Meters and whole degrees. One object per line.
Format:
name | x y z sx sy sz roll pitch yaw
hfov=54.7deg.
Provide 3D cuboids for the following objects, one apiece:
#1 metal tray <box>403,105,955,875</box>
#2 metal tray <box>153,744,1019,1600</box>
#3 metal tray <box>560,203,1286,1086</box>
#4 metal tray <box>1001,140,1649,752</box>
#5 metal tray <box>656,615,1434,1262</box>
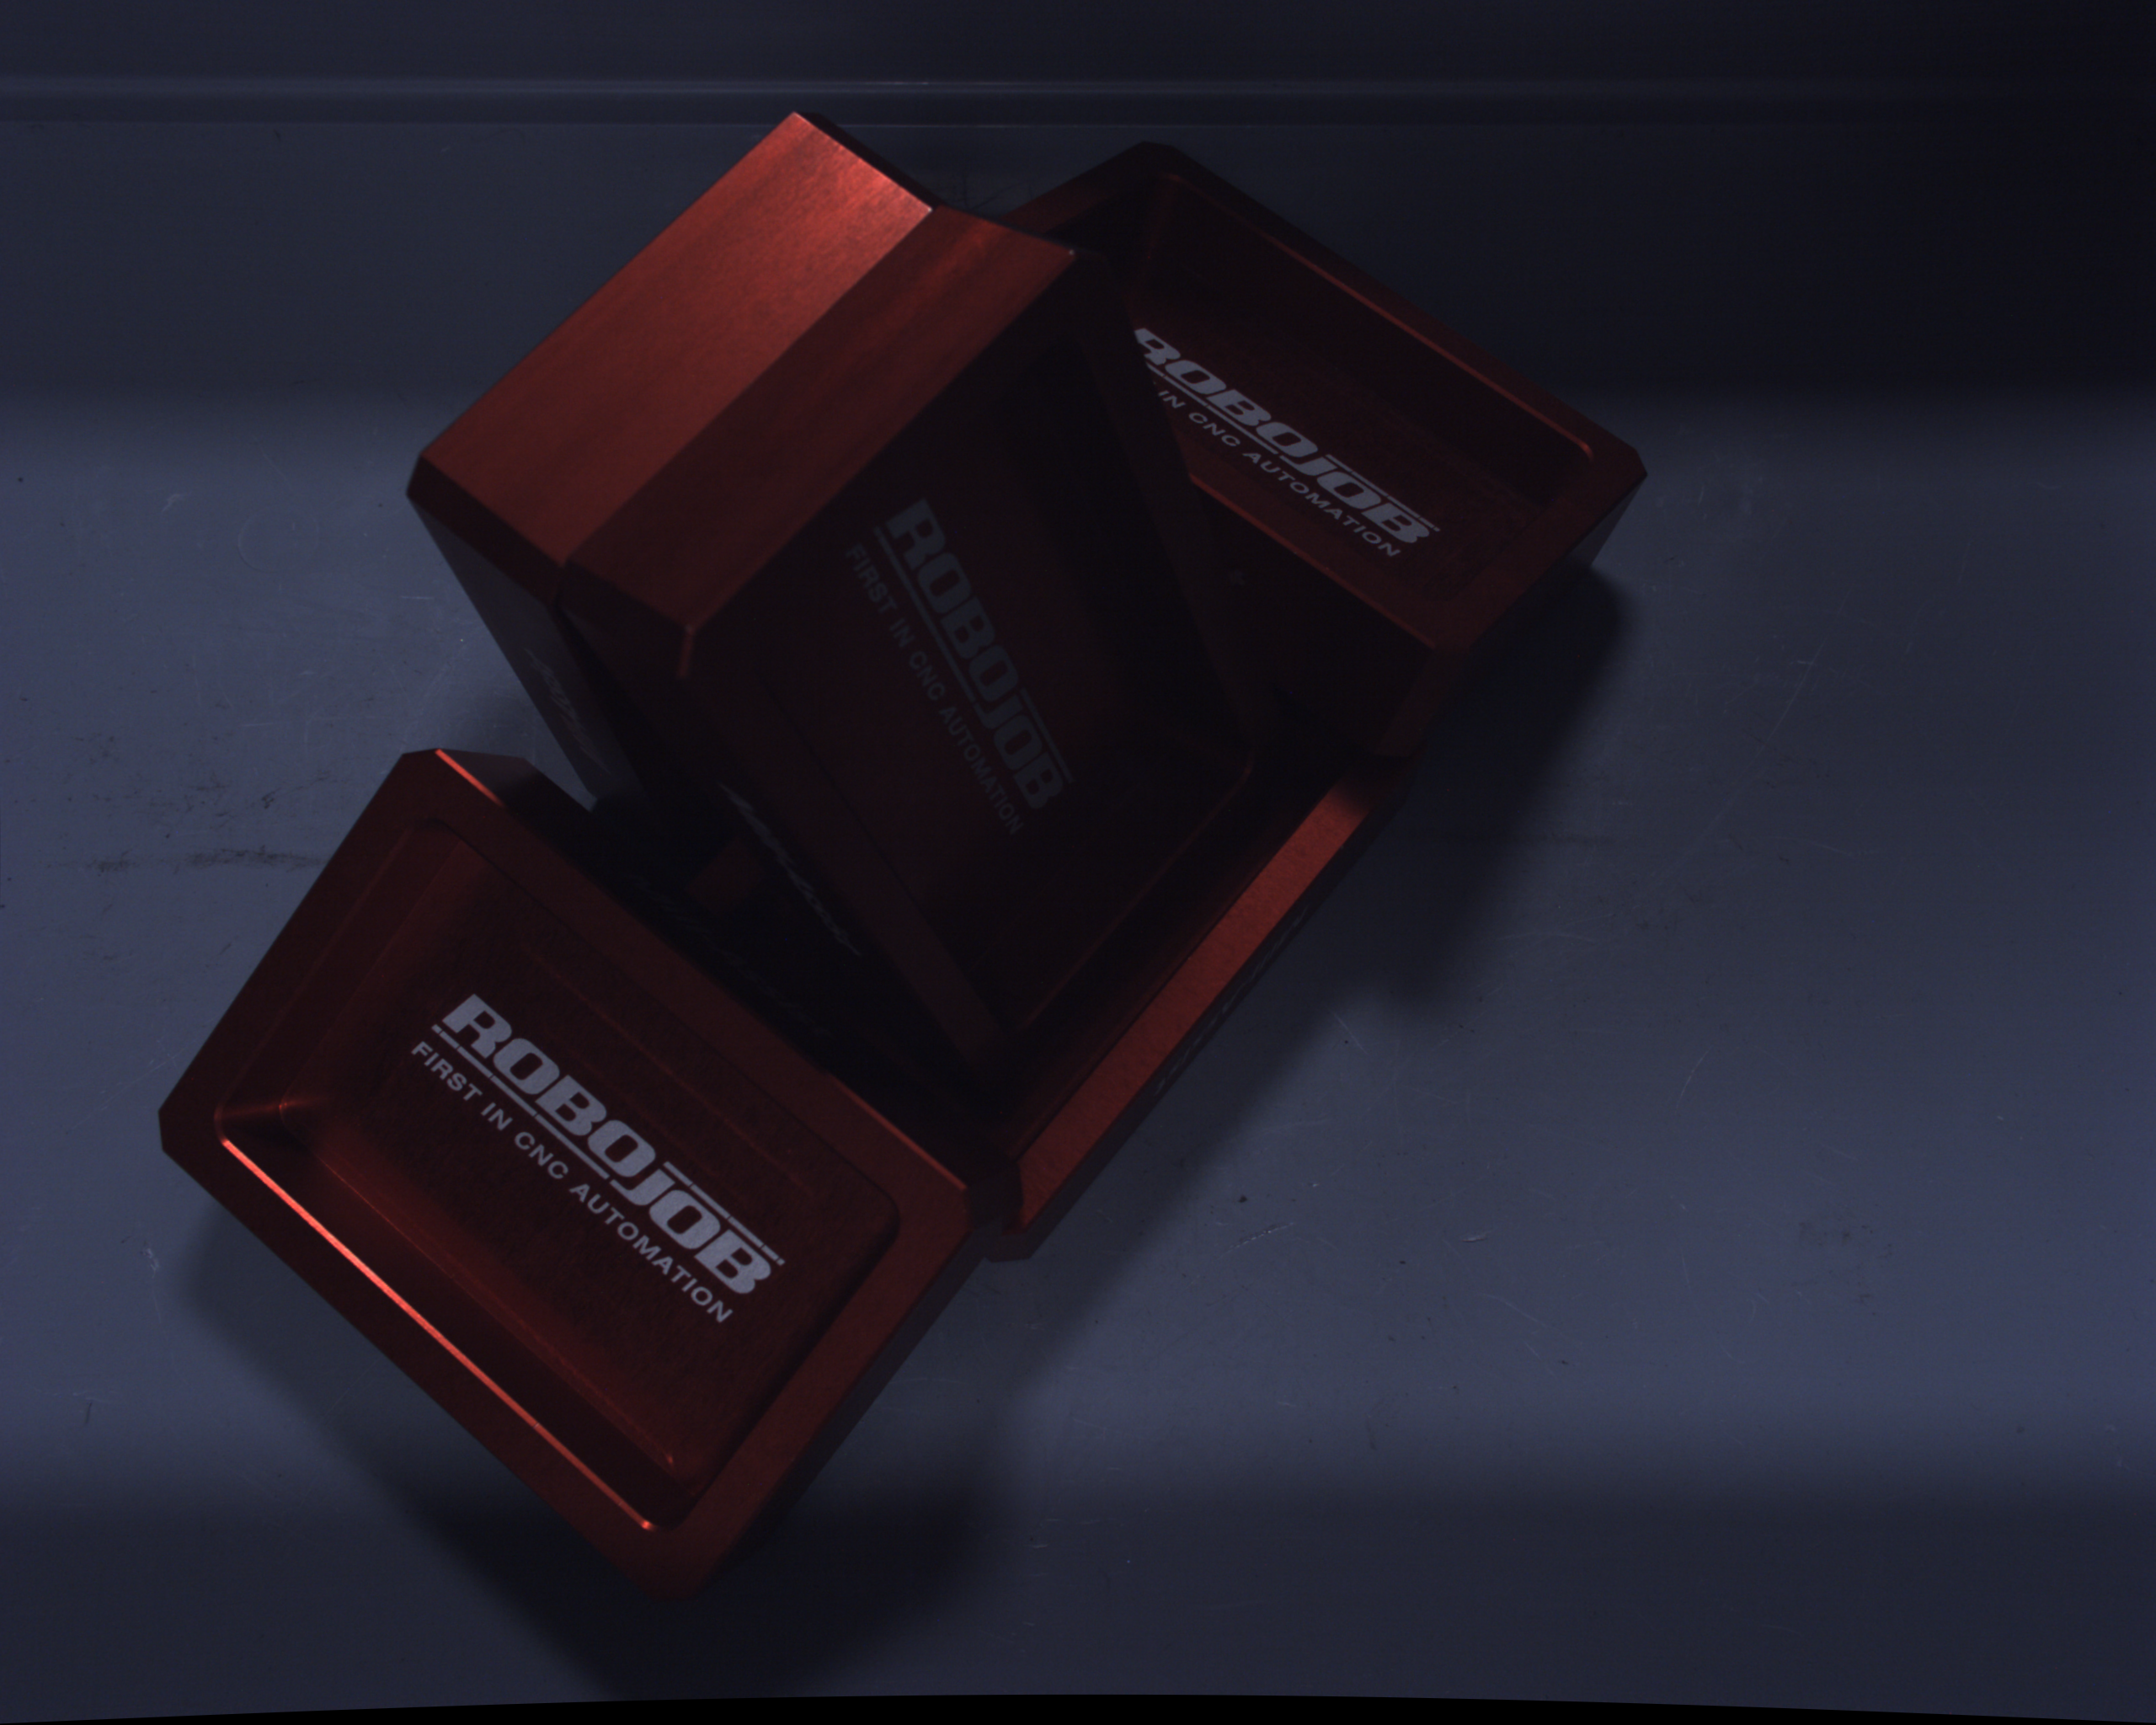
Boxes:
metal tray | -0.059 -0.059 0.372 0.030 0.130 0.090 38 75 13
metal tray | -0.088 0.051 0.367 0.130 0.030 0.090 38 98 12
metal tray | -0.017 -0.031 0.350 0.030 0.130 0.090 31 71 35
metal tray | 0.038 -0.088 0.420 0.130 0.030 0.090 37 49 12
metal tray | -0.005 0.000 0.405 0.090 0.030 0.130 37 74 12
